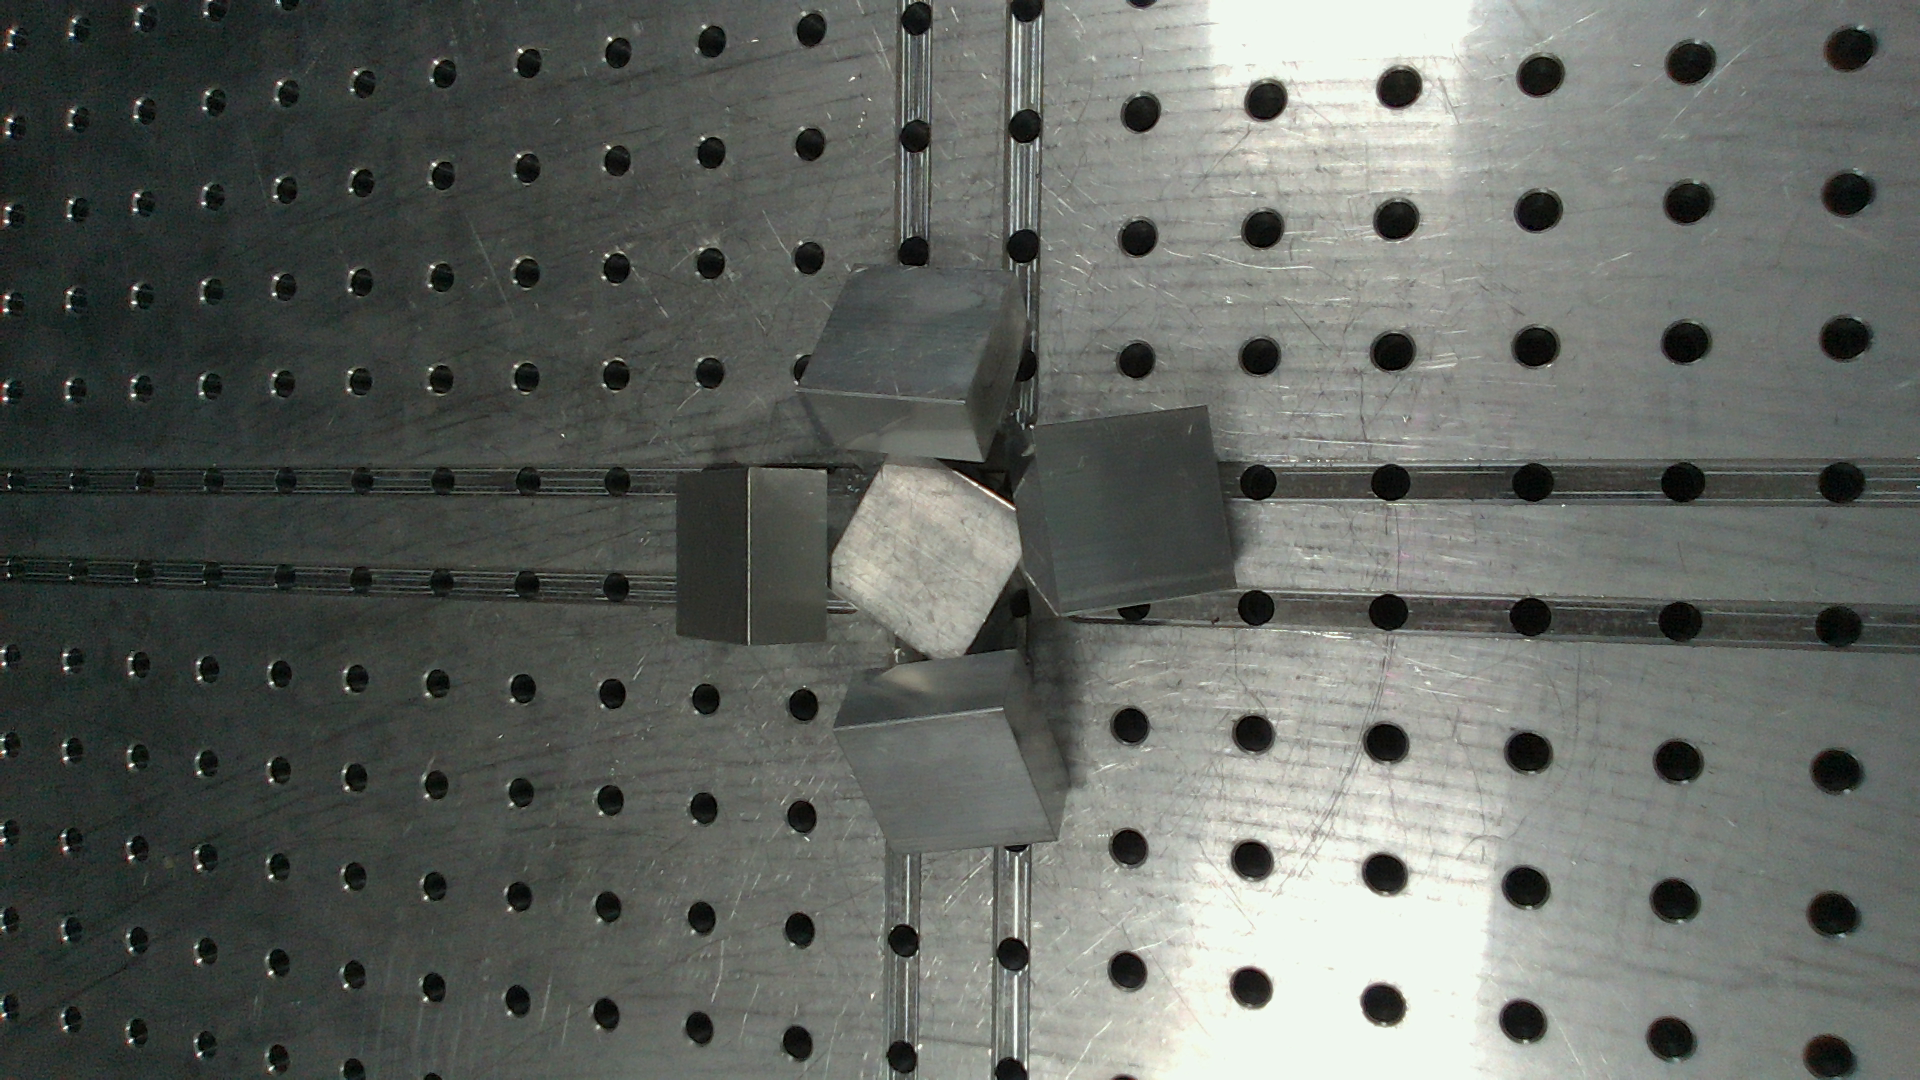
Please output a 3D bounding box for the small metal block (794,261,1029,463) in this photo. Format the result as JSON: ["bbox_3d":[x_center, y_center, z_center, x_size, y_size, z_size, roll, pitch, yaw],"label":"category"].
[{"bbox_3d":[-0.012,-0.051,0.389,0.050,0.025,0.050,7,56,20],"label":"small metal block"}]

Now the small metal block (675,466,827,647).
[{"bbox_3d":[-0.063,0.005,0.409,0.050,0.025,0.050,0,90,55],"label":"small metal block"}]

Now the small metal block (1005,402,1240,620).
[{"bbox_3d":[0.043,-0.007,0.370,0.050,0.025,0.050,-8,86,-15],"label":"small metal block"}]

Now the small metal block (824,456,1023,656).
[{"bbox_3d":[-0.006,0.004,0.400,0.050,0.025,0.050,33,101,17],"label":"small metal block"}]

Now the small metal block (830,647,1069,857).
[{"bbox_3d":[-0.001,0.060,0.386,0.050,0.025,0.050,-10,122,20],"label":"small metal block"}]
